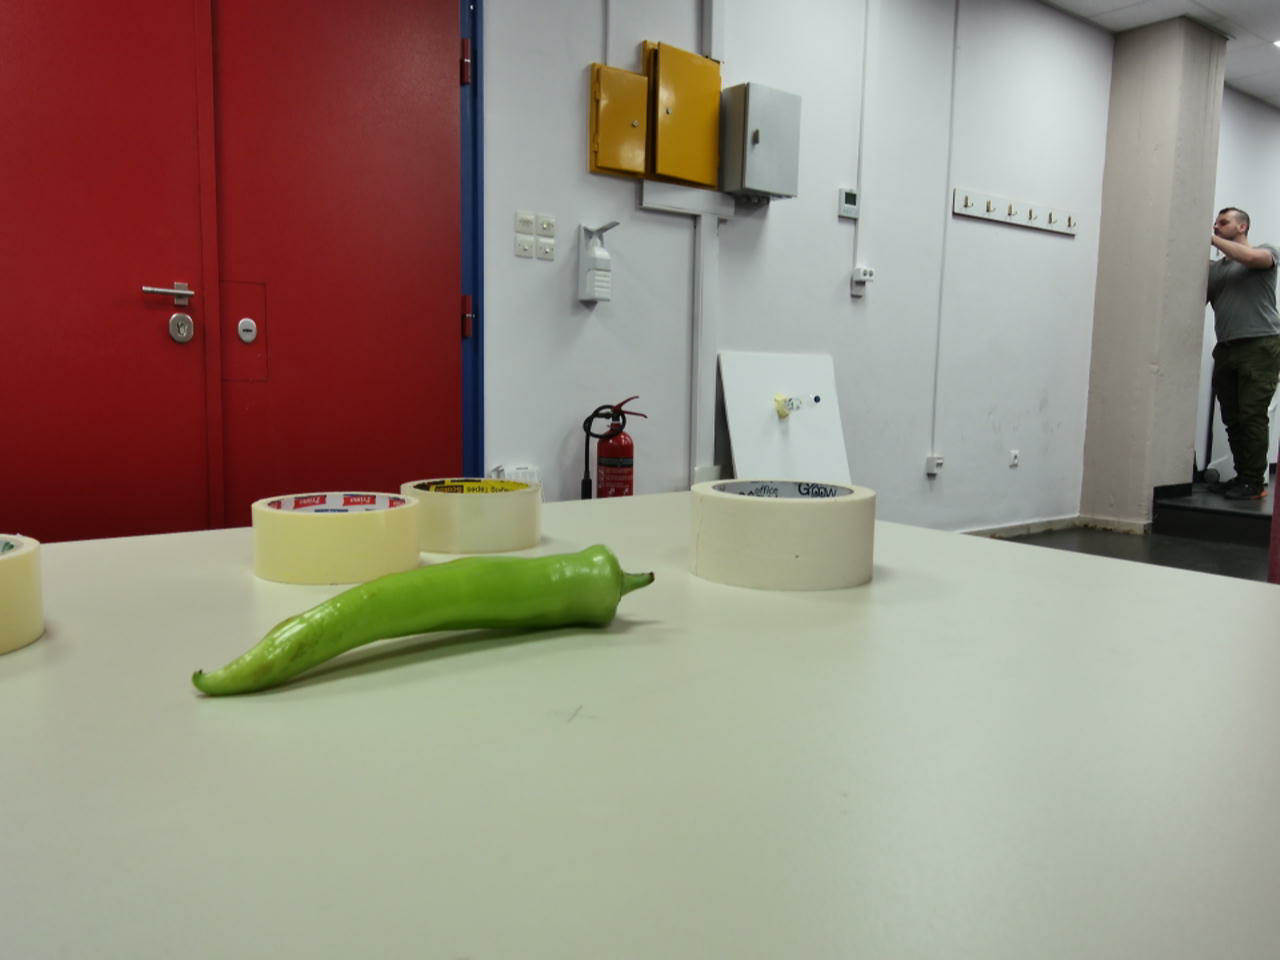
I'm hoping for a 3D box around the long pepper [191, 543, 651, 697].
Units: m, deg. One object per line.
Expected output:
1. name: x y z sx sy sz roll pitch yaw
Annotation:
1. long pepper: -0.083 0.052 0.413 0.197 0.038 0.047 -3 5 -36
